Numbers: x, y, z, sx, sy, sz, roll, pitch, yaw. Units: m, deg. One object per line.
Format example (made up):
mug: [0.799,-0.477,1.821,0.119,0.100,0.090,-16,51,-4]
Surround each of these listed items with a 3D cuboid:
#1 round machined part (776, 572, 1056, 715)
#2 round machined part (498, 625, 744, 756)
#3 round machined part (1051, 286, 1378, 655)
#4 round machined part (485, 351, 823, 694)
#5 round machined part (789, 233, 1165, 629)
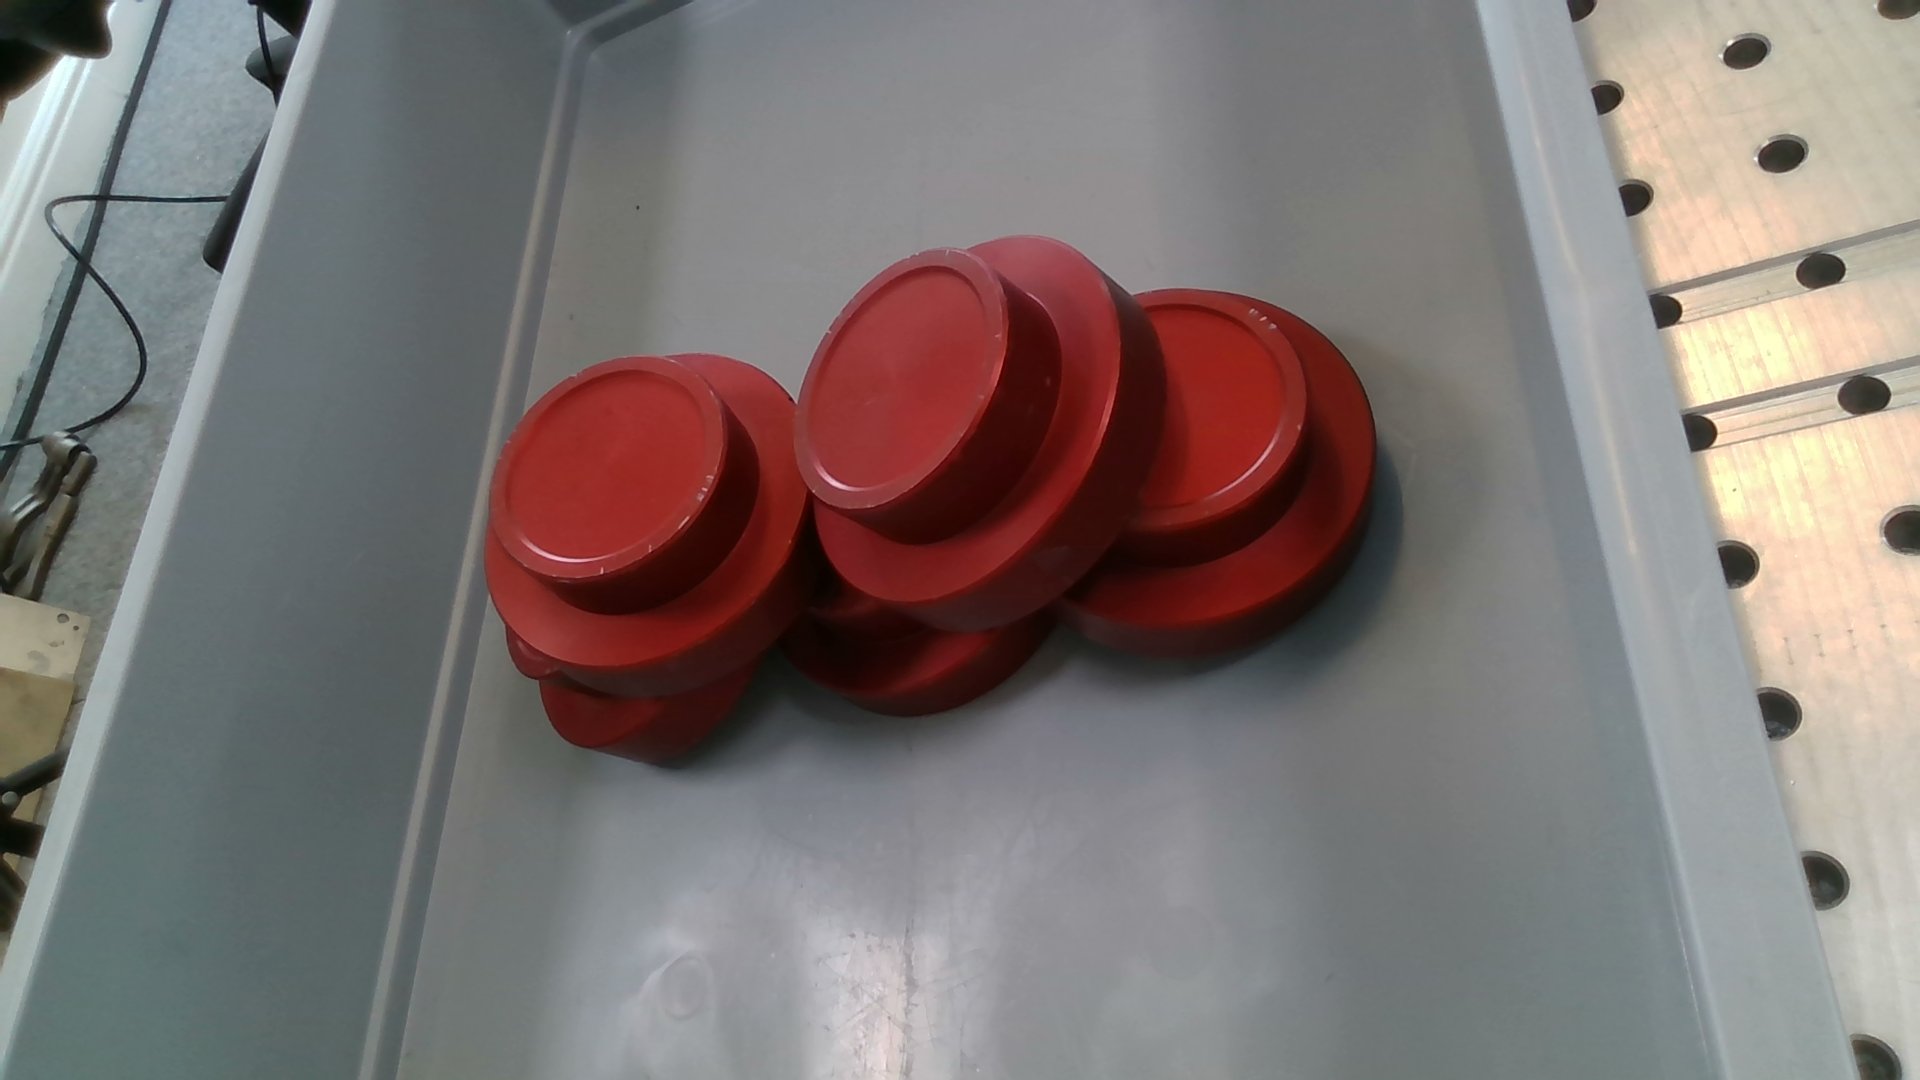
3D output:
round machined part: [-0.017,-0.003,0.393,0.098,0.042,0.098,-14,59,24]
round machined part: [-0.104,0.014,0.420,0.098,0.042,0.098,-24,54,37]
round machined part: [0.054,-0.024,0.346,0.098,0.042,0.098,-6,62,11]
round machined part: [-0.087,-0.011,0.374,0.098,0.042,0.098,-8,61,15]
round machined part: [-0.003,-0.031,0.333,0.098,0.042,0.098,-22,55,35]
